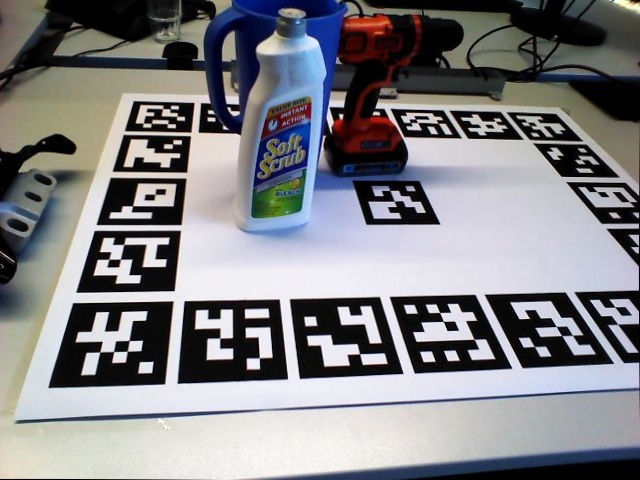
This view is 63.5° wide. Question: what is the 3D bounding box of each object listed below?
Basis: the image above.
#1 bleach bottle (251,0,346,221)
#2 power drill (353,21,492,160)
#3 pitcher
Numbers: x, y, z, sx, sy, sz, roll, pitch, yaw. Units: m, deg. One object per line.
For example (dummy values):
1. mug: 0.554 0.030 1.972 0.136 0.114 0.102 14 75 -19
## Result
1. bleach bottle: -0.025 -0.138 0.569 0.102 0.252 0.067 -7 44 -15
2. power drill: 0.132 -0.200 0.705 0.184 0.188 0.057 -1 45 -17
3. pitcher: -0.030 -0.191 0.658 0.188 0.244 0.133 -22 51 -28
